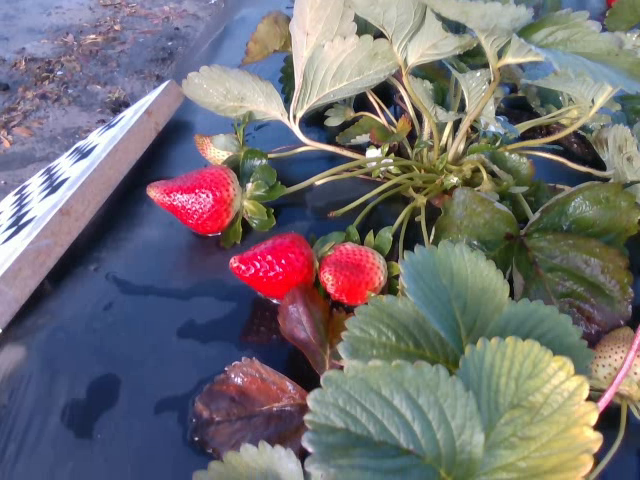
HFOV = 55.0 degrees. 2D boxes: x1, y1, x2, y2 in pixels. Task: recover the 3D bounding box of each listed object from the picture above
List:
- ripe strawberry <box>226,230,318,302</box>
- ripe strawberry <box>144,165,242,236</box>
[{"bbox_3d":[-0.029,0.014,0.336,0.055,0.041,0.044,7,-7,-37],"label":"ripe strawberry"},{"bbox_3d":[-0.081,-0.032,0.388,0.065,0.049,0.050,12,9,-23],"label":"ripe strawberry"}]
